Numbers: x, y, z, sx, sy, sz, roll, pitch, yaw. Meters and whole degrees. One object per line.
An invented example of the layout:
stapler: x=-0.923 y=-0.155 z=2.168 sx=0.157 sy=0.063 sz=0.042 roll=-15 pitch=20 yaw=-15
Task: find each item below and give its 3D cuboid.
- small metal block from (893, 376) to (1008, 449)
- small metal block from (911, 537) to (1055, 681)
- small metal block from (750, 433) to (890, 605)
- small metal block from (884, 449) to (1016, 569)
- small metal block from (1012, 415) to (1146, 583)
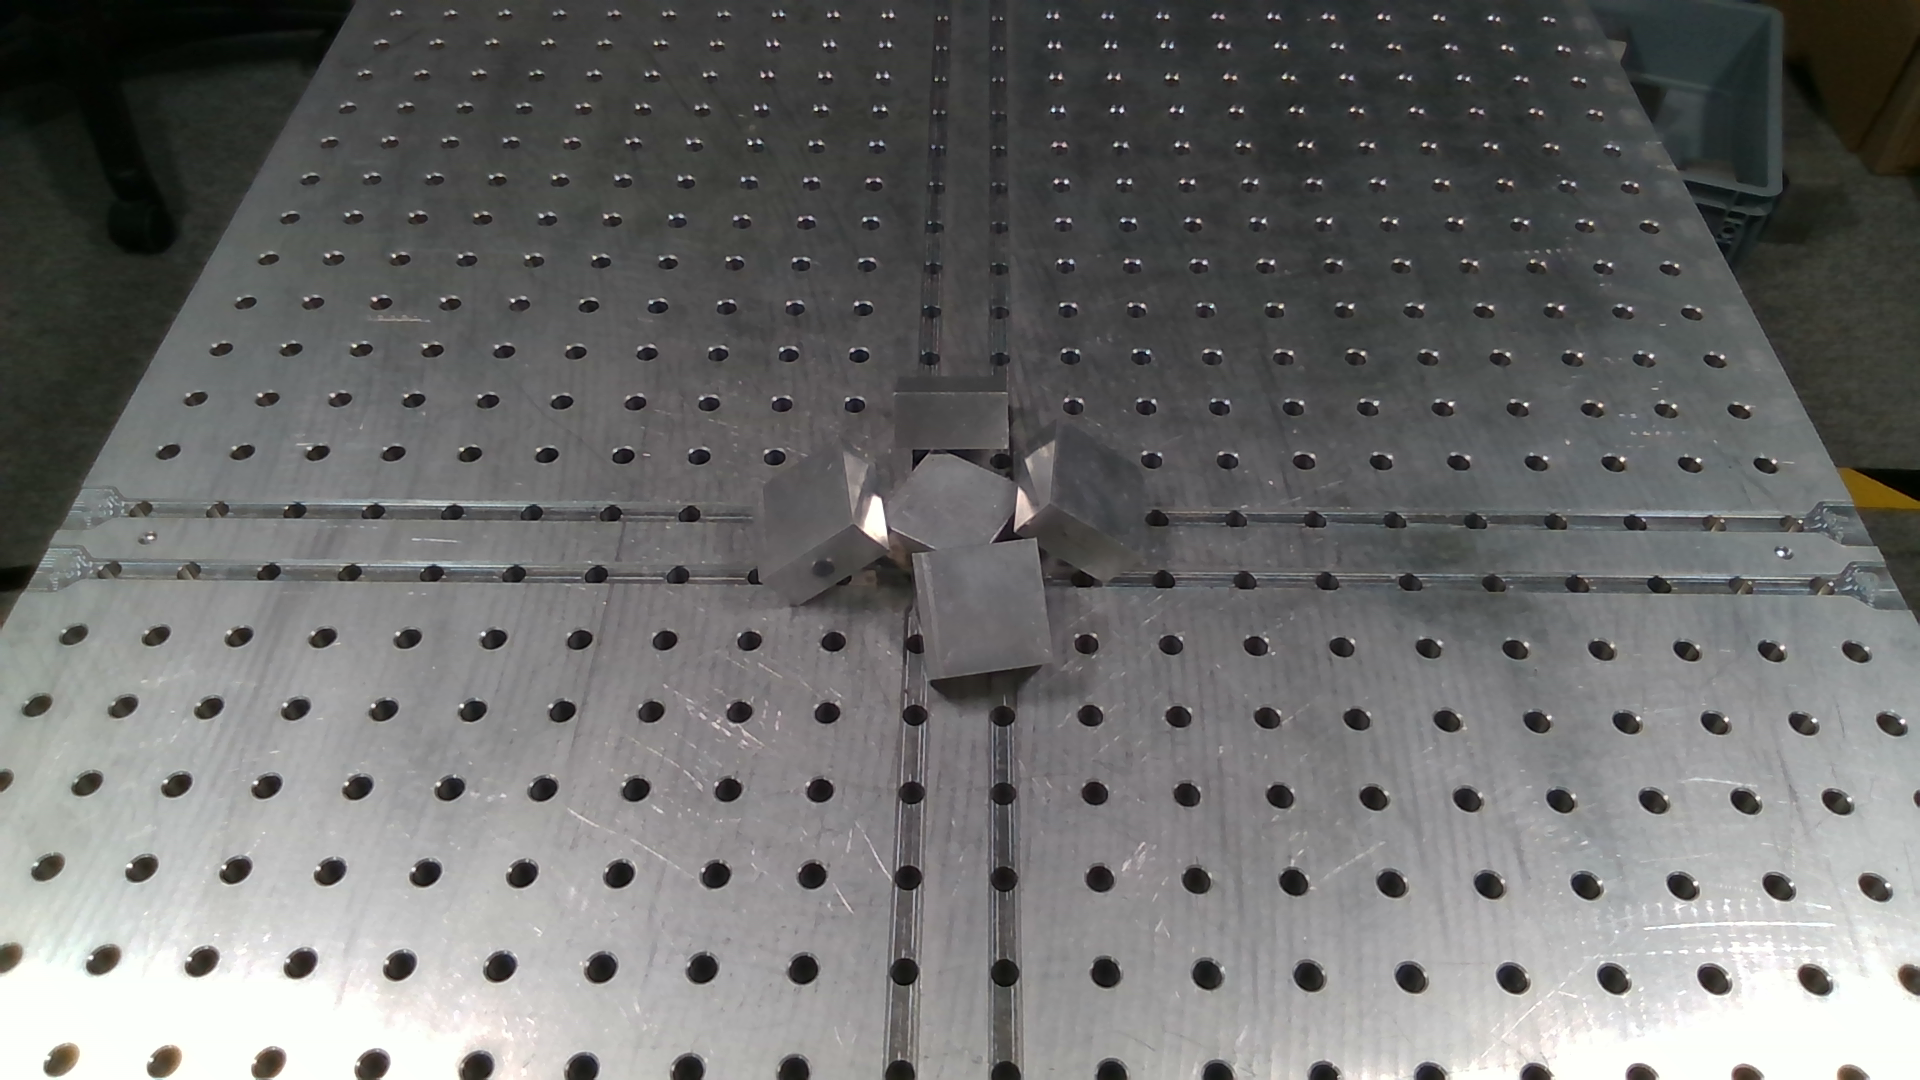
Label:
small metal block: x=-0.004 y=-0.058 z=0.624 sx=0.050 sy=0.025 sz=0.050 roll=0 pitch=15 yaw=0
small metal block: x=0.008 y=0.028 z=0.551 sx=0.050 sy=0.025 sz=0.050 roll=-7 pitch=86 yaw=-6
small metal block: x=-0.060 y=-0.009 z=0.581 sx=0.050 sy=0.025 sz=0.050 roll=-31 pitch=47 yaw=21
small metal block: x=-0.003 y=-0.008 z=0.596 sx=0.050 sy=0.025 sz=0.050 roll=25 pitch=54 yaw=19
small metal block: x=0.052 y=-0.017 z=0.588 sx=0.050 sy=0.025 sz=0.050 roll=29 pitch=46 yaw=-23
